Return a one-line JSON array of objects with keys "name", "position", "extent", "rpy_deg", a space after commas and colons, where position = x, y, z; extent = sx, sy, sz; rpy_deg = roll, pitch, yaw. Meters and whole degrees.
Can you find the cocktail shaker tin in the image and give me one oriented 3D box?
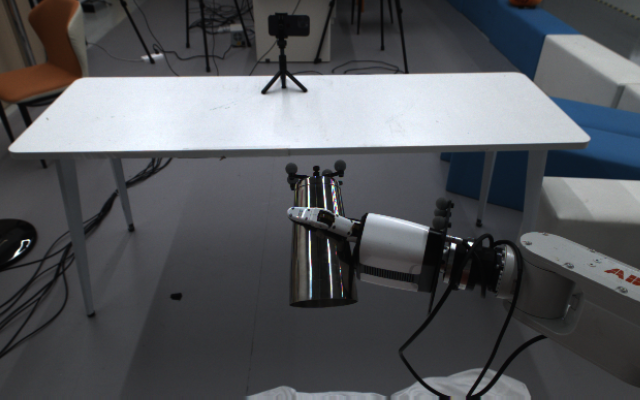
[{"name": "cocktail shaker tin", "position": [-0.001, 0.058, 0.668], "extent": [0.093, 0.093, 0.170], "rpy_deg": [-2, 70, -5]}]
